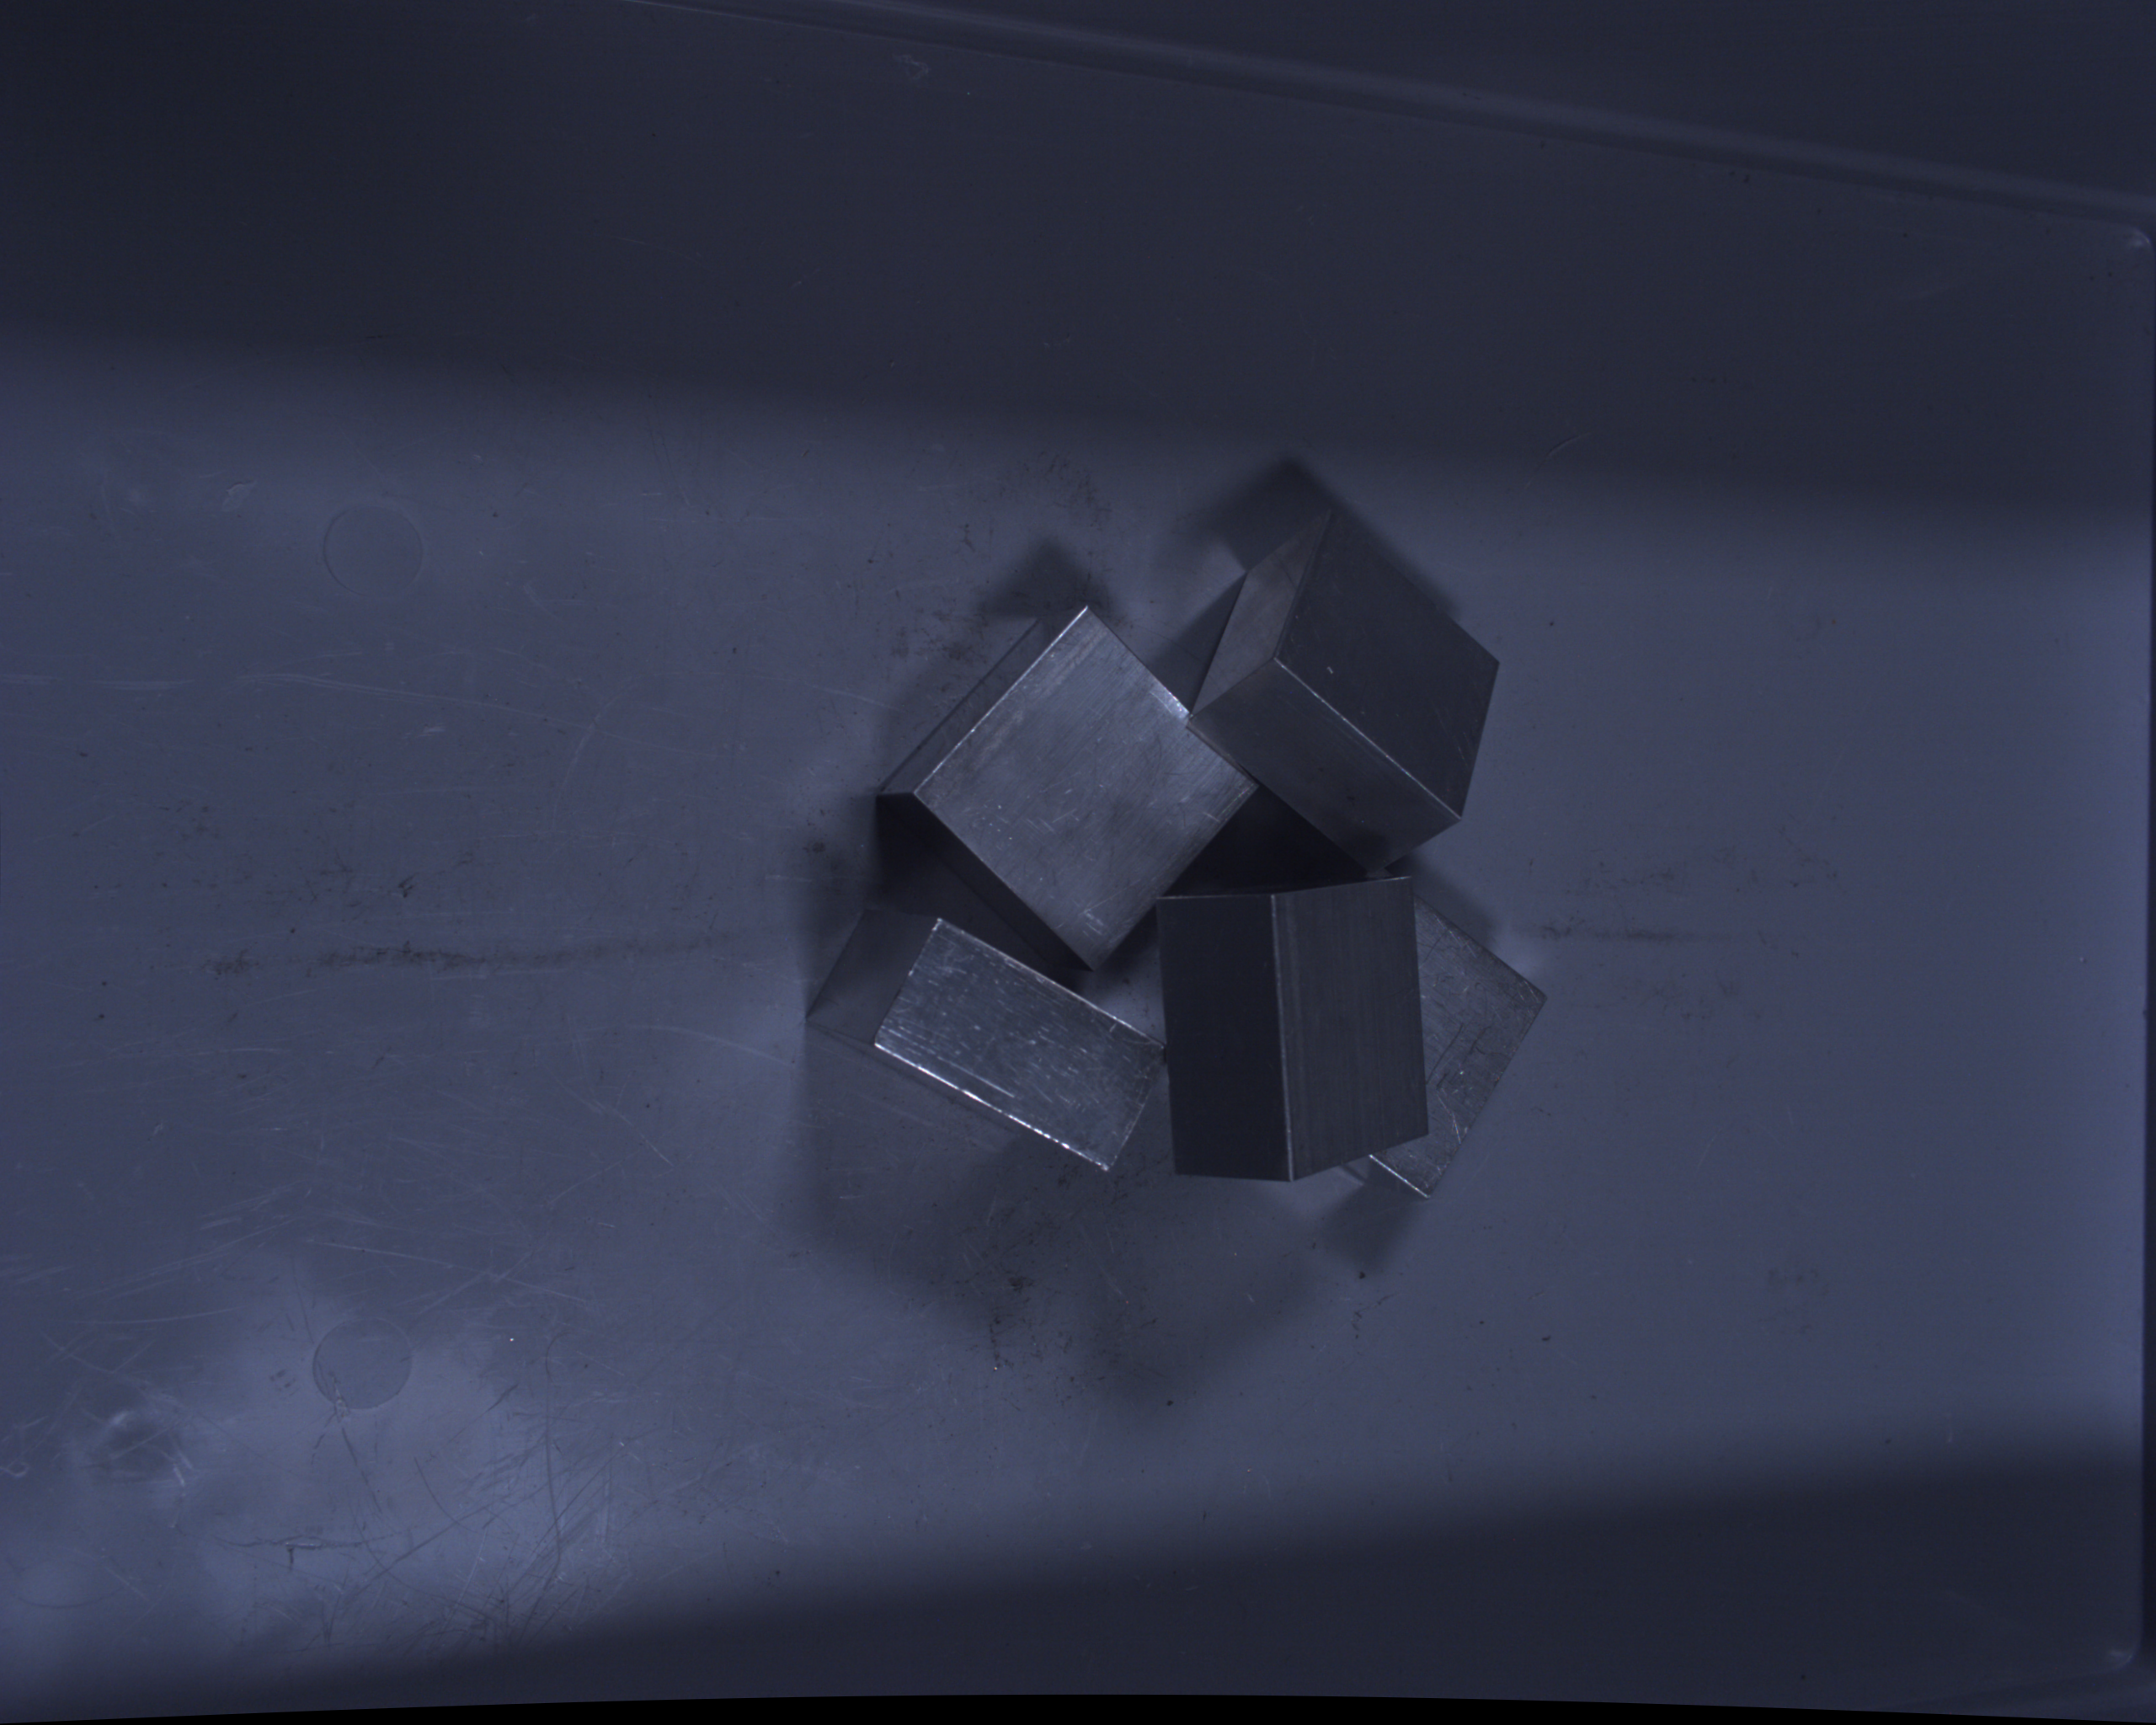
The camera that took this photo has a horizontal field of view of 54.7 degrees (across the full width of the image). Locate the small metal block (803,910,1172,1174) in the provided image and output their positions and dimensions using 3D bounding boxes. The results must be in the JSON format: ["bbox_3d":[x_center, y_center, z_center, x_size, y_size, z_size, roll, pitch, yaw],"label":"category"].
[{"bbox_3d":[-0.018,0.032,0.389,0.050,0.050,0.025,31,80,-18],"label":"small metal block"}]

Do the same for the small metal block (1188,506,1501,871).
[{"bbox_3d":[0.055,-0.035,0.418,0.050,0.025,0.050,39,45,-17],"label":"small metal block"}]

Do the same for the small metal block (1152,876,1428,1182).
[{"bbox_3d":[0.040,0.029,0.386,0.050,0.025,0.050,-5,92,-52],"label":"small metal block"}]

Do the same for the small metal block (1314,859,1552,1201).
[{"bbox_3d":[0.061,0.034,0.432,0.050,0.025,0.050,37,78,-17],"label":"small metal block"}]

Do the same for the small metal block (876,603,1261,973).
[{"bbox_3d":[-0.002,-0.014,0.408,0.050,0.025,0.050,45,76,-15],"label":"small metal block"}]
